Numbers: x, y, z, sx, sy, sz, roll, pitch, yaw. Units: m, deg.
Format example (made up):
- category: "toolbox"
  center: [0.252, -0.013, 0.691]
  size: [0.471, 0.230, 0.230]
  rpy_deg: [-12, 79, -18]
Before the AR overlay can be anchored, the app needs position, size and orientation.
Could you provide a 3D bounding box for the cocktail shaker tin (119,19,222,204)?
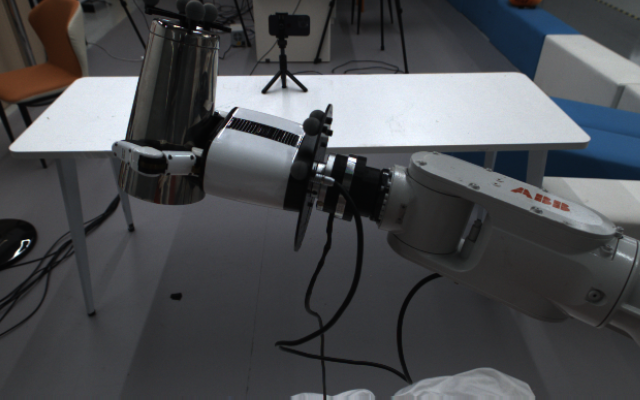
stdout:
- category: "cocktail shaker tin"
  center: [-0.150, -0.089, 0.500]
  size: [0.093, 0.170, 0.093]
  rpy_deg: [14, 20, -5]
